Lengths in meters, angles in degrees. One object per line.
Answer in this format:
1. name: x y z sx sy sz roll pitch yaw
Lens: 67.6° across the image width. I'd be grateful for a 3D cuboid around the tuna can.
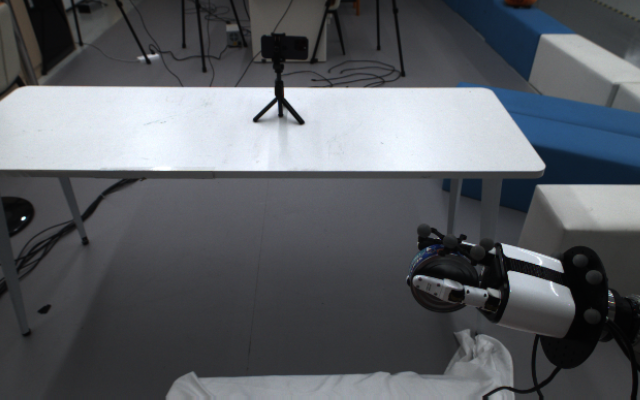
1. tuna can: 0.161 0.097 0.625 0.085 0.085 0.034 5 18 4
